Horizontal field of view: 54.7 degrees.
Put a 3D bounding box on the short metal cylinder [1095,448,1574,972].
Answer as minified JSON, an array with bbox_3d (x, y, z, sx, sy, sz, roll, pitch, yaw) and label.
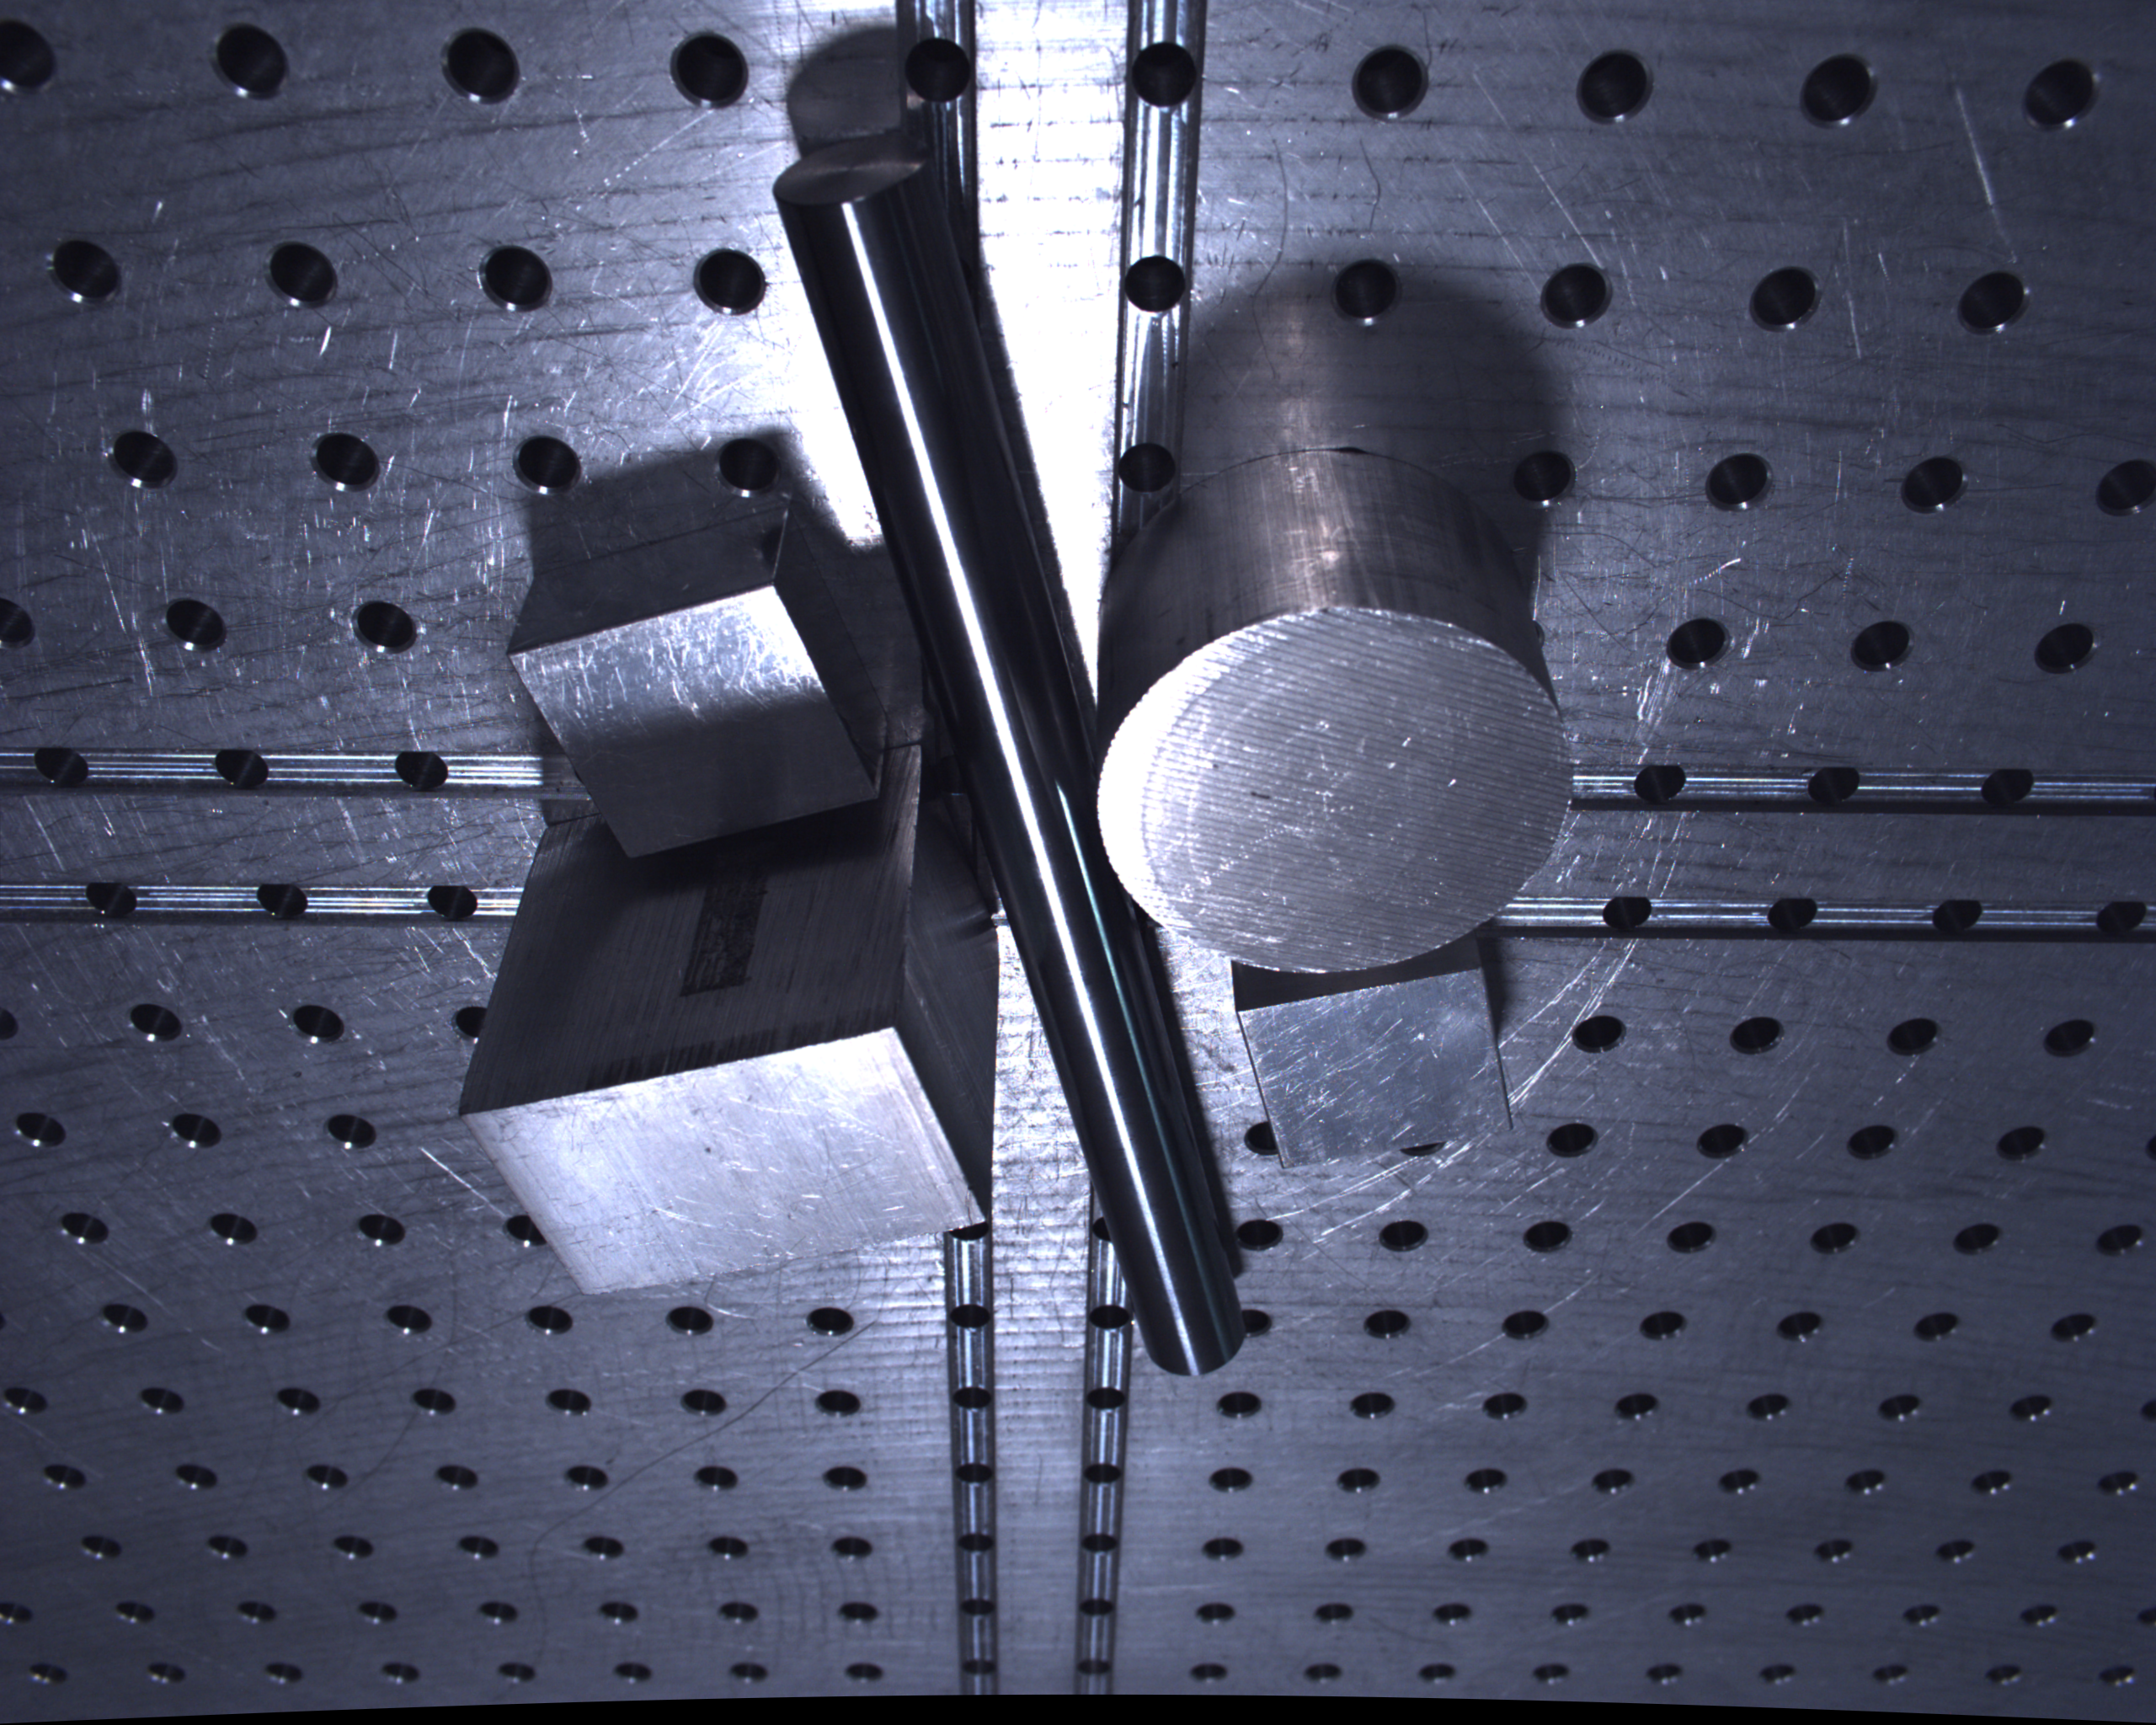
[{"bbox_3d":[0.043,-0.026,0.373,0.081,0.050,0.079,0,130,0],"label":"short metal cylinder"}]

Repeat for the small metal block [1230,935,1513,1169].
[{"bbox_3d":[0.062,0.035,0.443,0.050,0.025,0.050,-11,130,9],"label":"small metal block"}]

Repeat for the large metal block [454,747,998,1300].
[{"bbox_3d":[-0.062,0.030,0.398,0.080,0.080,0.050,-12,129,9],"label":"large metal block"}]

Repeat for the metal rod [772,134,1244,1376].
[{"bbox_3d":[-0.003,0.004,0.415,0.025,0.025,0.298,-10,130,8],"label":"metal rod"}]

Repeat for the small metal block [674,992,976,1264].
[{"bbox_3d":[-0.055,0.059,0.461,0.050,0.025,0.050,-12,129,9],"label":"small metal block"}]

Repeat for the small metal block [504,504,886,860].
[{"bbox_3d":[-0.068,-0.032,0.383,0.050,0.025,0.050,-14,129,10],"label":"small metal block"}]
